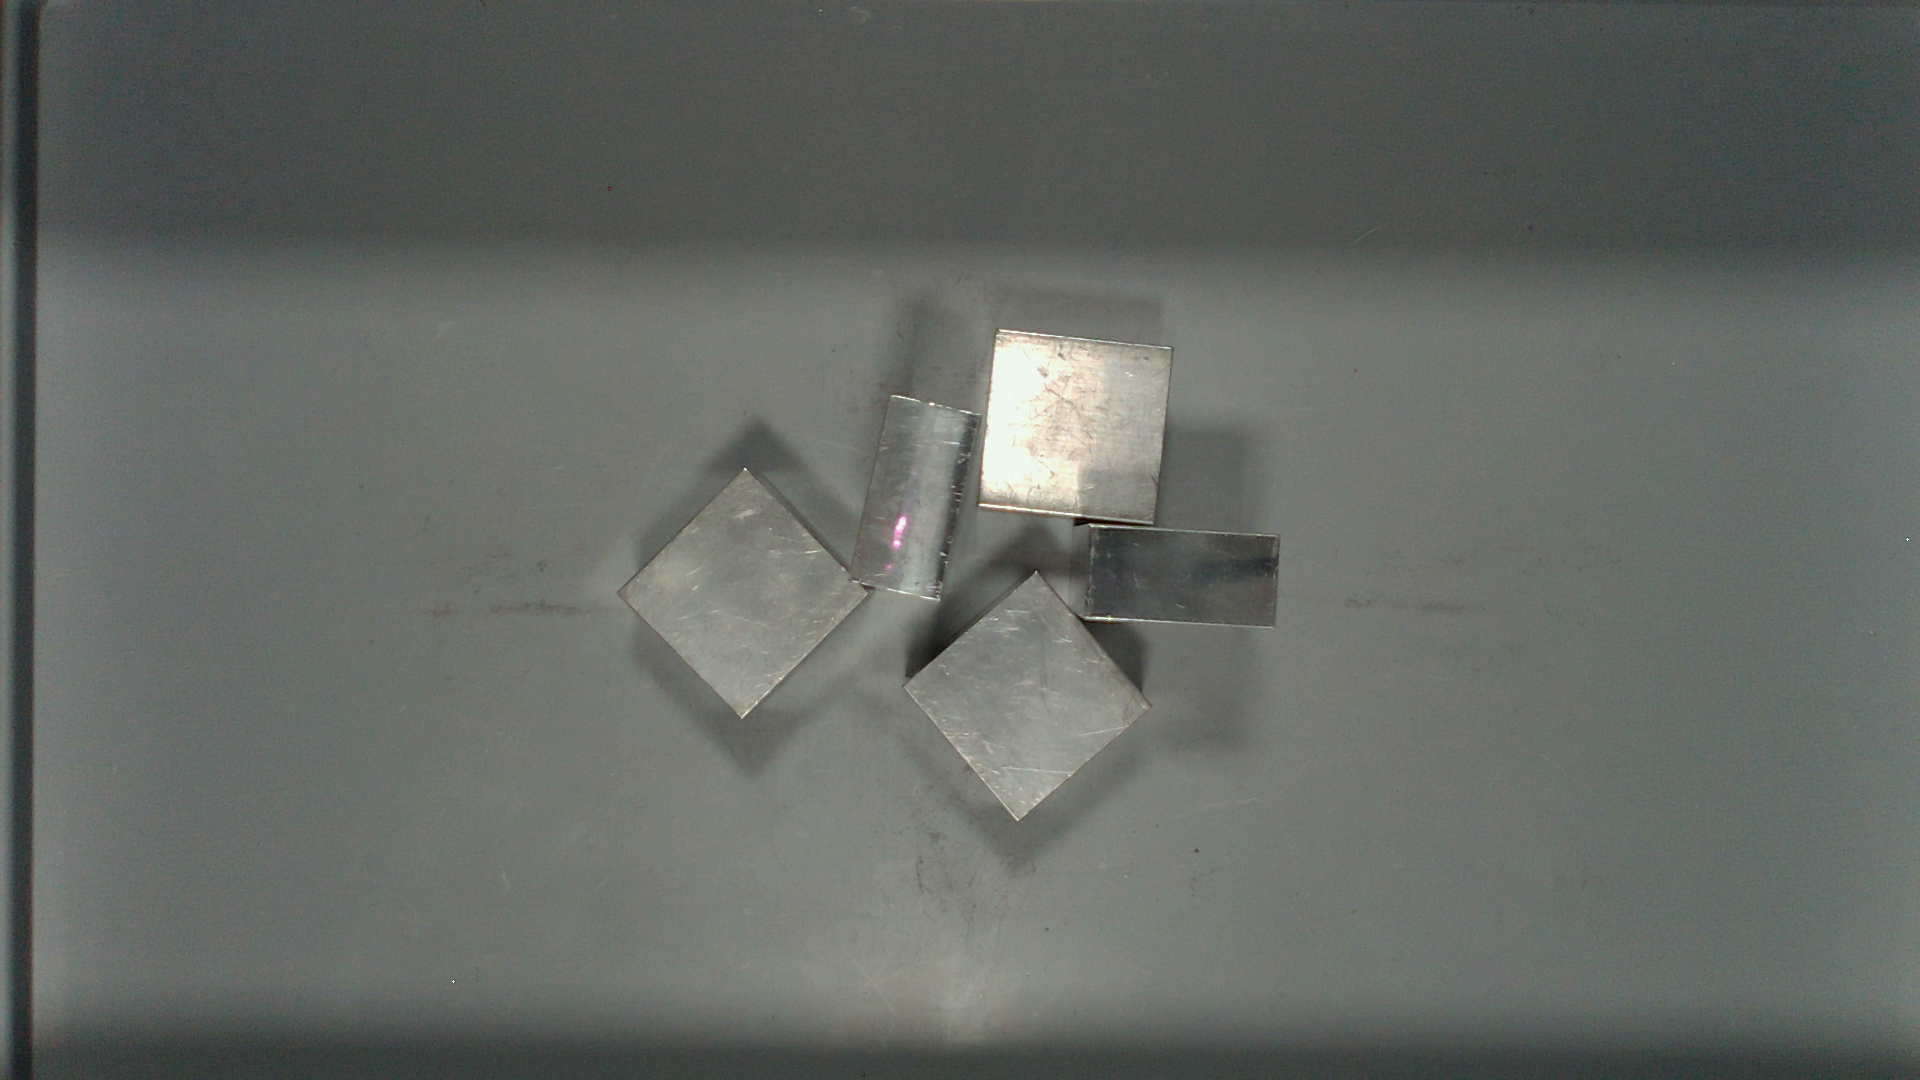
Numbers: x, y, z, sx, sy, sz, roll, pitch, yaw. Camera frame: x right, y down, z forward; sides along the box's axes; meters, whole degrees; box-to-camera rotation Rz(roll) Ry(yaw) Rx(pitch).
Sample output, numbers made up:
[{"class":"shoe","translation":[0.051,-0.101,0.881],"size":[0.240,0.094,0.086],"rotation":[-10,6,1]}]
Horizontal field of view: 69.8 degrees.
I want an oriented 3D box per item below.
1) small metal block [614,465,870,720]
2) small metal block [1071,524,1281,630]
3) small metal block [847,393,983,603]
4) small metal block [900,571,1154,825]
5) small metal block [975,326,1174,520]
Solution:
[{"class":"small metal block","translation":[-0.060,0.015,0.394],"size":[0.050,0.025,0.050],"rotation":[-45,90,0]},{"class":"small metal block","translation":[0.058,0.010,0.381],"size":[0.050,0.050,0.025],"rotation":[3,90,0]},{"class":"small metal block","translation":[-0.011,-0.011,0.381],"size":[0.025,0.050,0.050],"rotation":[12,90,0]},{"class":"small metal block","translation":[0.019,0.044,0.394],"size":[0.050,0.025,0.050],"rotation":[-41,90,0]},{"class":"small metal block","translation":[0.032,-0.032,0.394],"size":[0.050,0.025,0.050],"rotation":[6,90,0]}]
